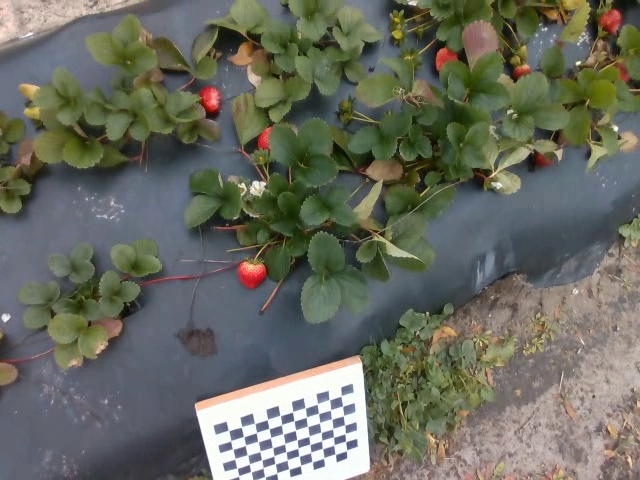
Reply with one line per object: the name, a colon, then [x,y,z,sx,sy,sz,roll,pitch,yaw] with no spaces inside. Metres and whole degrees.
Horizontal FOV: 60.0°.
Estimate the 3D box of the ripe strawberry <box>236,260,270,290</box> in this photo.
ripe strawberry: [-0.135,0.071,1.090,0.061,0.065,0.050,-4,20,-20]
